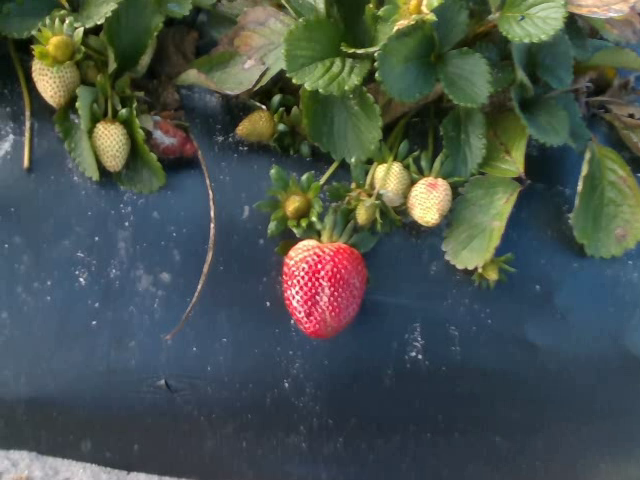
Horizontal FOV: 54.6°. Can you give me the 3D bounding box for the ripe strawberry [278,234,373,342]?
[{"bbox_3d":[0.001,0.029,0.372,0.052,0.068,0.045,10,-40,-9],"label":"ripe strawberry"}]
